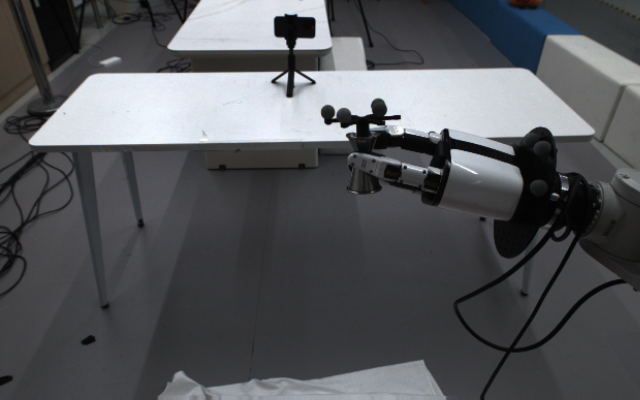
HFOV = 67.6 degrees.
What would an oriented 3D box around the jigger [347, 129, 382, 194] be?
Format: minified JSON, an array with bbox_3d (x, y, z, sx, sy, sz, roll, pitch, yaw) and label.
[{"bbox_3d":[0.052,-0.046,0.582,0.043,0.071,0.043,-2,19,1],"label":"jigger"}]
